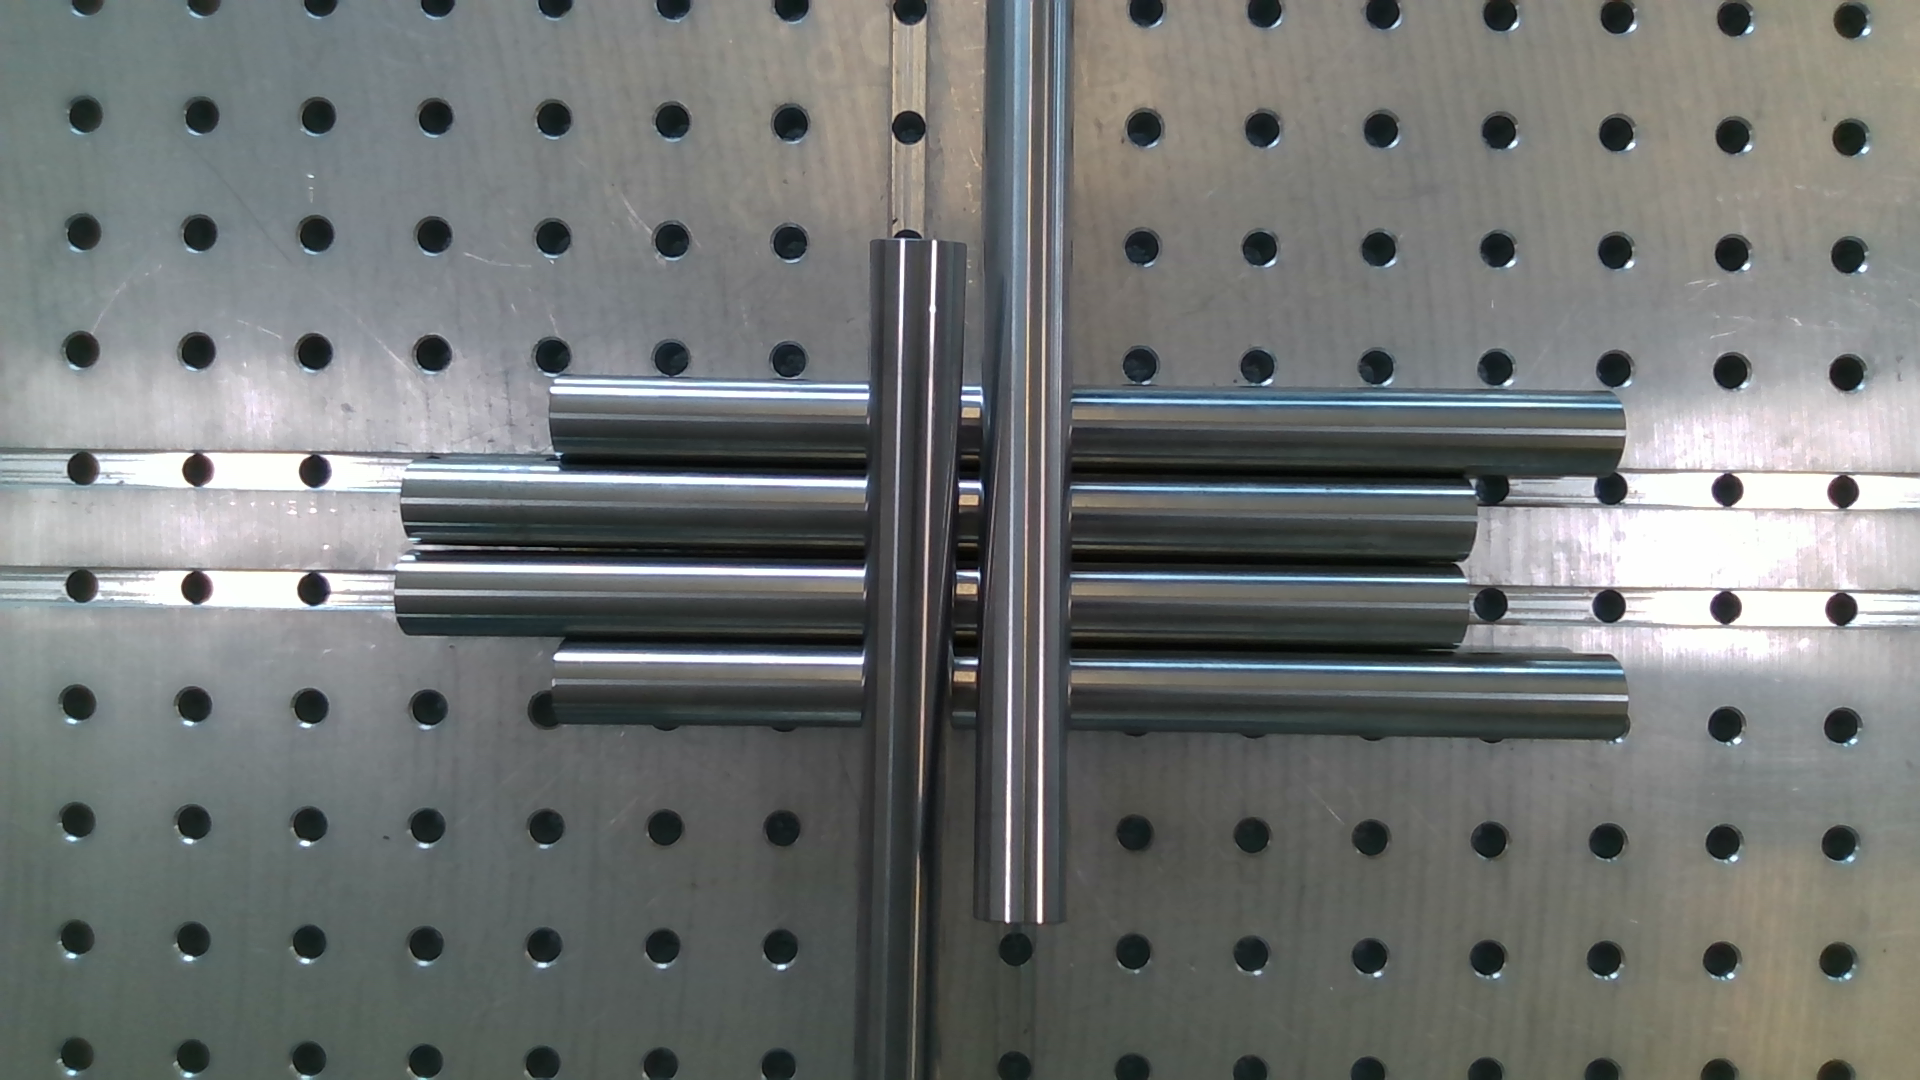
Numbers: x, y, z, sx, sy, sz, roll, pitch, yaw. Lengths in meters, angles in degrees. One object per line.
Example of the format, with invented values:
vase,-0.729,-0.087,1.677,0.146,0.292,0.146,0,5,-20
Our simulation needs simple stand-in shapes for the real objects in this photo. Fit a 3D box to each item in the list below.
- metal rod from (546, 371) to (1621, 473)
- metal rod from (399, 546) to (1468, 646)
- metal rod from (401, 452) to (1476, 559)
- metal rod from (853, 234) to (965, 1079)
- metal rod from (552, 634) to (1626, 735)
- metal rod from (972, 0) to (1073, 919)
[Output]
metal rod,0.035,-0.034,0.397,0.300,0.025,0.025,1,90,0
metal rod,-0.007,0.016,0.399,0.300,0.025,0.025,1,90,0
metal rod,-0.006,-0.010,0.396,0.300,0.025,0.025,1,90,0
metal rod,-0.015,0.070,0.377,0.025,0.025,0.300,2,99,0
metal rod,0.036,0.042,0.397,0.300,0.025,0.025,1,90,0
metal rod,0.018,-0.053,0.374,0.025,0.025,0.300,1,81,0
